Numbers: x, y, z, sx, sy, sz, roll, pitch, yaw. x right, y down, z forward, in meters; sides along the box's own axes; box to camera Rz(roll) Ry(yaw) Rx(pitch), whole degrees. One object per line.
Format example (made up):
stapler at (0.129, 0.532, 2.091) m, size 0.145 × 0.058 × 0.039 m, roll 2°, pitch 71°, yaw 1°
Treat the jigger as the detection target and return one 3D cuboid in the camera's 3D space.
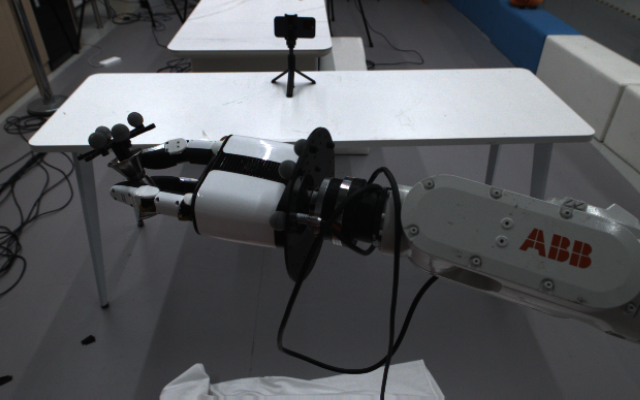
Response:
jigger at (-0.194, -0.019, 0.539) m, size 0.043 × 0.071 × 0.043 m, roll -21°, pitch 24°, yaw 10°
